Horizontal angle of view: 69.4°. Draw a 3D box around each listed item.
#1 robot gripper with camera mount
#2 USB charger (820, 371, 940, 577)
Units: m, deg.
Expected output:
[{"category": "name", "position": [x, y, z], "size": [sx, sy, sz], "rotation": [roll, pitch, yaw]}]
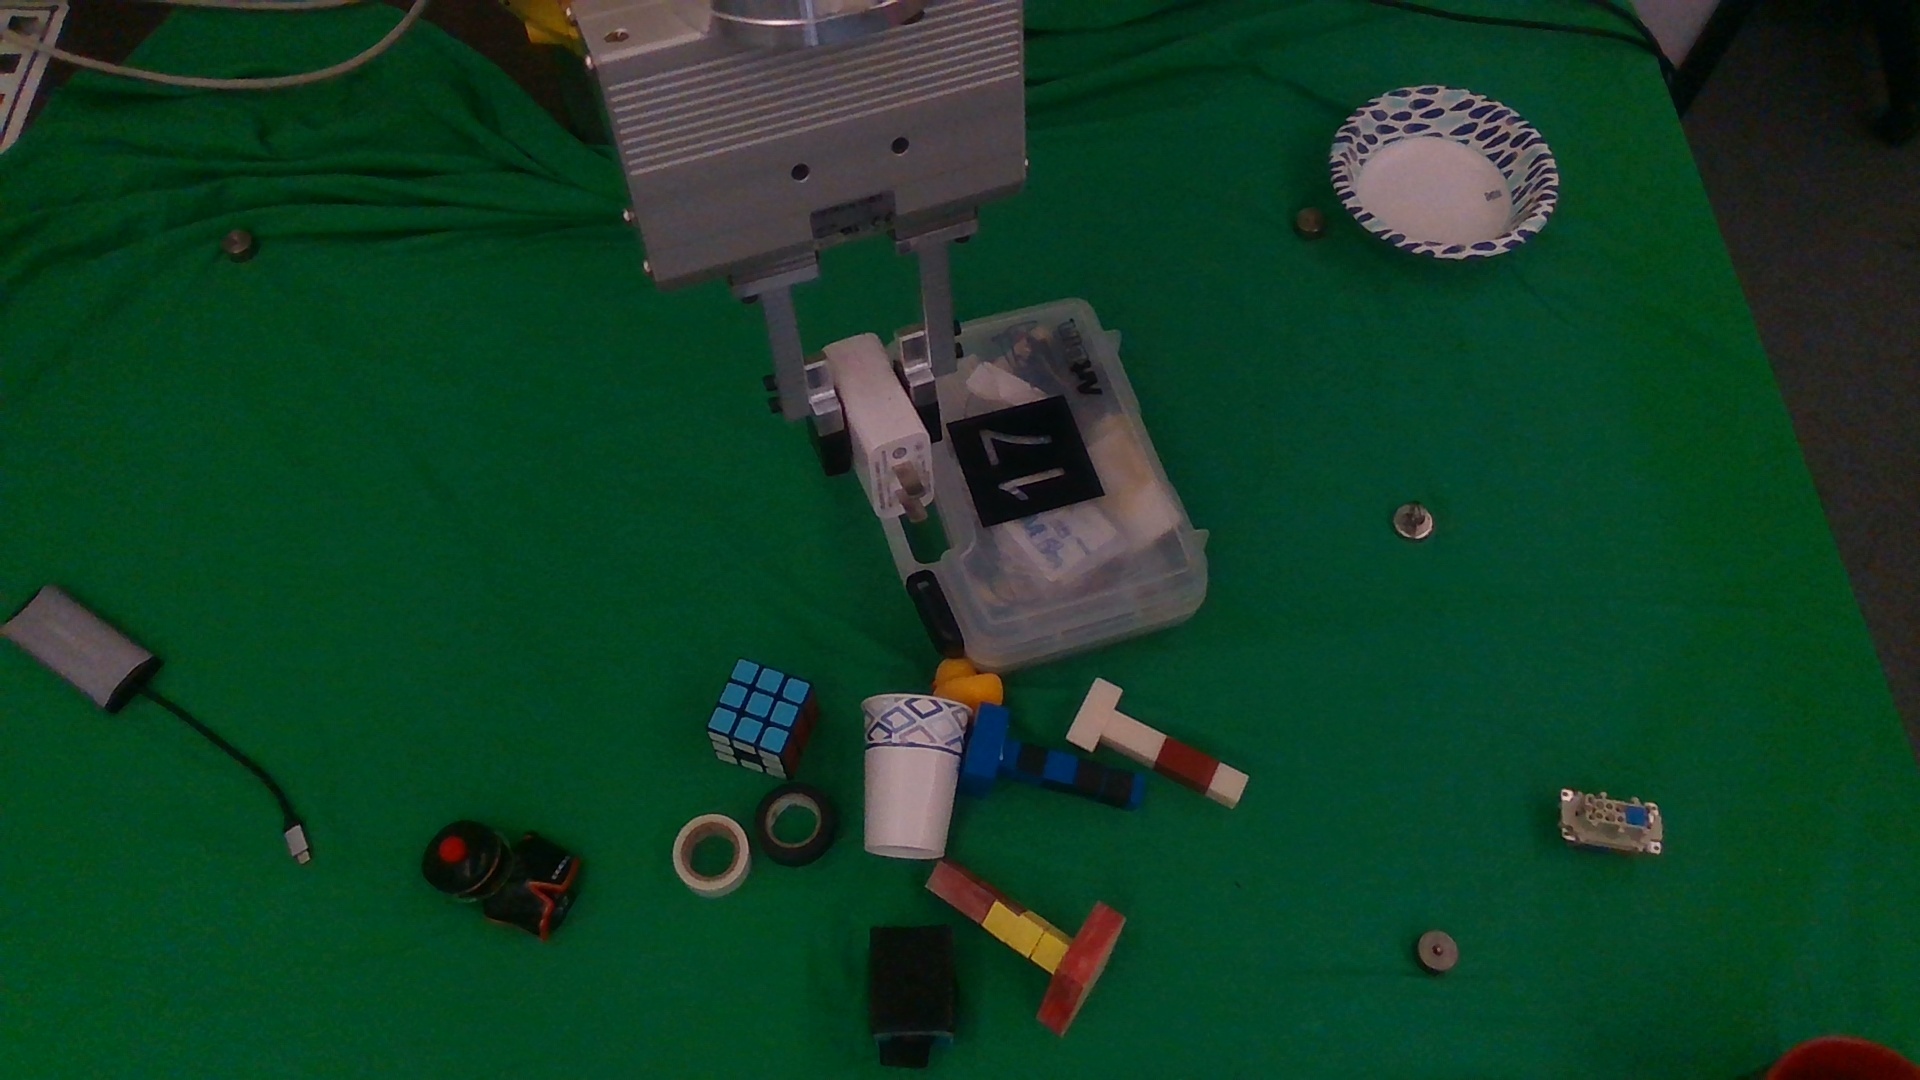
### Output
[{"category": "robot gripper with camera mount", "position": [-0.057, -0.126, 0.491], "size": [0.119, 0.158, 0.194], "rotation": [-16, 45, -7]}, {"category": "USB charger", "position": [-0.026, -0.020, 0.479], "size": [0.029, 0.044, 0.076], "rotation": [-19, 54, -8]}]
